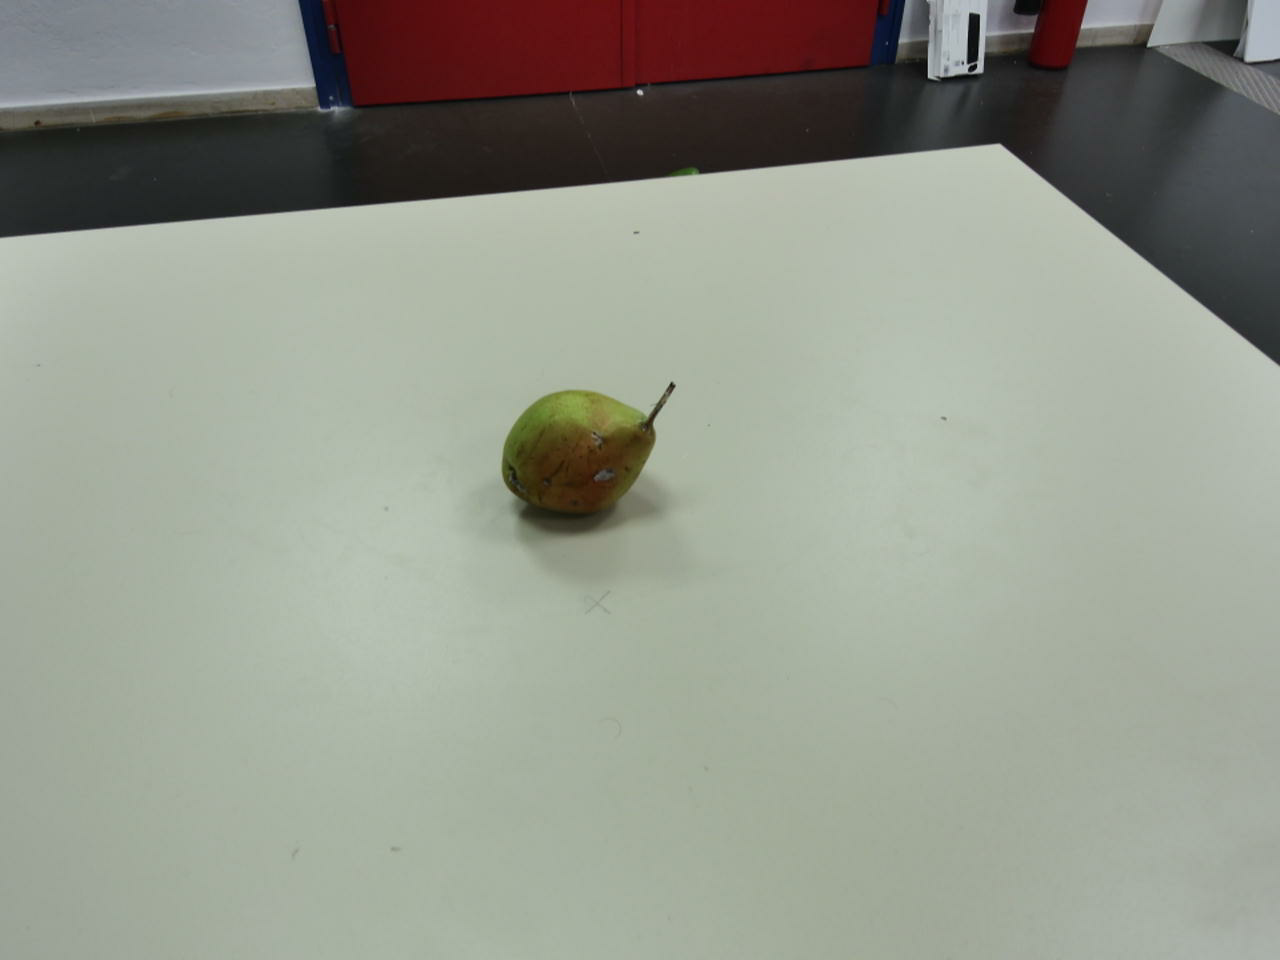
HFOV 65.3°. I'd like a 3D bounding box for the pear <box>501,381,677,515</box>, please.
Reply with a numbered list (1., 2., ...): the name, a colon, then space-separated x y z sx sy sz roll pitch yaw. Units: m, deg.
1. pear: -0.030 -0.016 0.495 0.070 0.069 0.068 25 46 29
